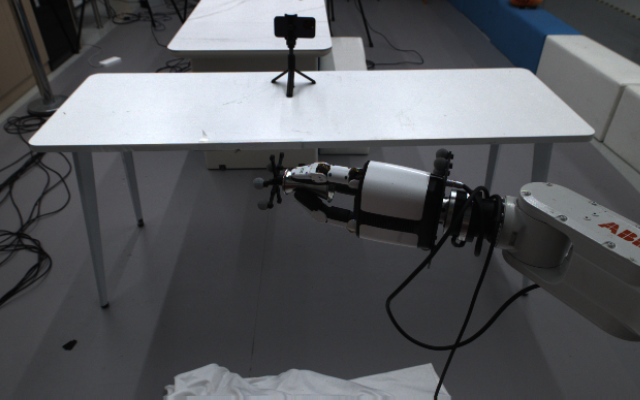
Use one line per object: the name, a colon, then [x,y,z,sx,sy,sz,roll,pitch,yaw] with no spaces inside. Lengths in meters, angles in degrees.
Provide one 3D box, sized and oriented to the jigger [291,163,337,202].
jigger: [-0.009,-0.028,0.693,0.071,0.043,0.043,8,35,14]
